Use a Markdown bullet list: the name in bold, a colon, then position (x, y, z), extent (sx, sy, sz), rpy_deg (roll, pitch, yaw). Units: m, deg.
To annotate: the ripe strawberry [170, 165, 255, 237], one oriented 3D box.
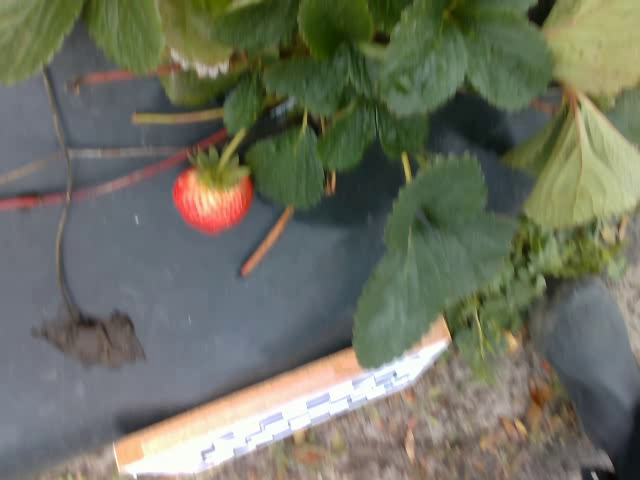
- **ripe strawberry**: position (-0.078, -0.023, 0.424), extent (0.062, 0.049, 0.064), rpy_deg (-17, -28, -18)
